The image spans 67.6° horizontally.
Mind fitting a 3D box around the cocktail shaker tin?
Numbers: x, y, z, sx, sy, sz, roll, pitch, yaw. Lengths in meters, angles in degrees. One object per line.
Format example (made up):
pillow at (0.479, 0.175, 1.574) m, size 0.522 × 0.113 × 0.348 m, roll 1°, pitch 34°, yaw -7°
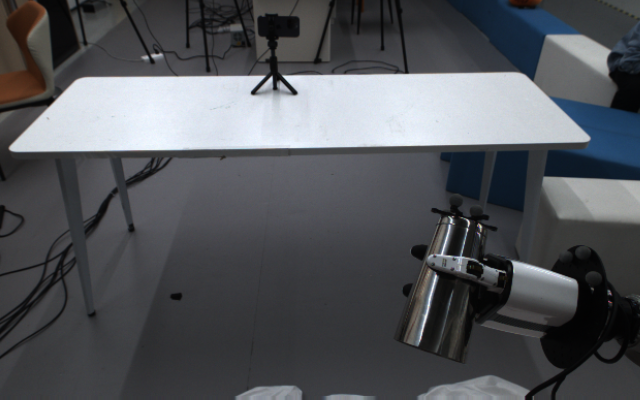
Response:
cocktail shaker tin at (0.164, 0.111, 0.623) m, size 0.093 × 0.093 × 0.170 m, roll 15°, pitch 75°, yaw 18°
